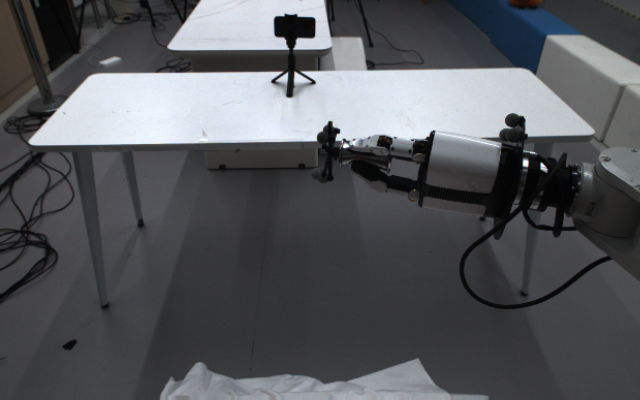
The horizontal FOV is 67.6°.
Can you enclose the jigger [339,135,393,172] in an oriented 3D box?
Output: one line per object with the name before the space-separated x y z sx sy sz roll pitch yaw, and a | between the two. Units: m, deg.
jigger | 0.070 -0.066 0.667 0.071 0.043 0.043 6 35 13
